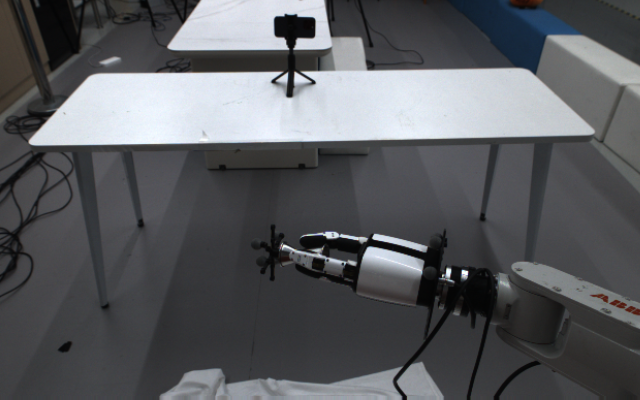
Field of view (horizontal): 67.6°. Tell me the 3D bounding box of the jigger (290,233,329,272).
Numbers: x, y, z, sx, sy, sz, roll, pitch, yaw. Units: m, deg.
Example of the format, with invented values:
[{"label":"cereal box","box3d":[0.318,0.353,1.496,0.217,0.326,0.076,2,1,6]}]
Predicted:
[{"label":"jigger","box3d":[-0.016,0.080,0.730,0.071,0.043,0.043,3,34,17]}]
